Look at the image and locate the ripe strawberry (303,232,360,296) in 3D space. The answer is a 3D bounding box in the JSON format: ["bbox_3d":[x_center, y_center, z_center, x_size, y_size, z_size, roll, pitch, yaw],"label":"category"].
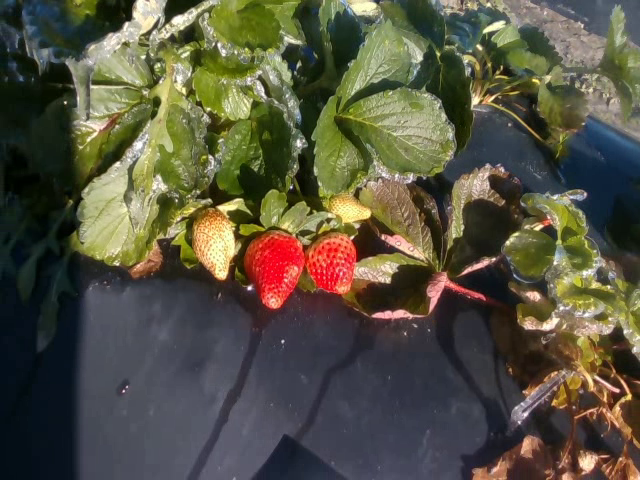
[{"bbox_3d":[0.009,0.015,0.353,0.036,0.041,0.030,-28,-14,-6],"label":"ripe strawberry"}]

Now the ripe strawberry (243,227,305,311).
[{"bbox_3d":[-0.025,0.022,0.333,0.036,0.039,0.052,-4,42,-3],"label":"ripe strawberry"}]
